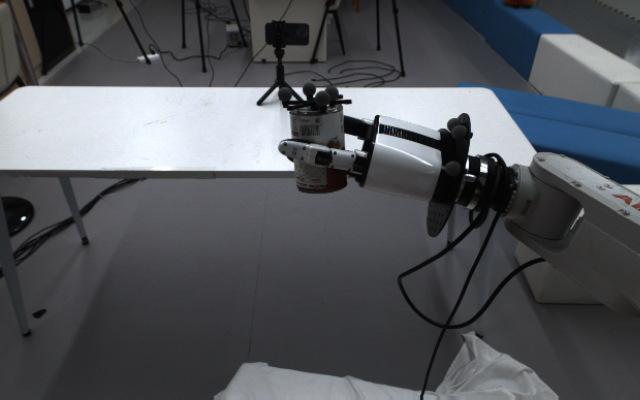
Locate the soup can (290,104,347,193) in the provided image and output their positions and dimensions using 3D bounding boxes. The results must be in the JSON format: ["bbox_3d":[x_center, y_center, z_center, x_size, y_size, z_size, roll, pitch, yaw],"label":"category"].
[{"bbox_3d":[0.000,-0.066,0.609,0.067,0.101,0.067,-4,21,1],"label":"soup can"}]
